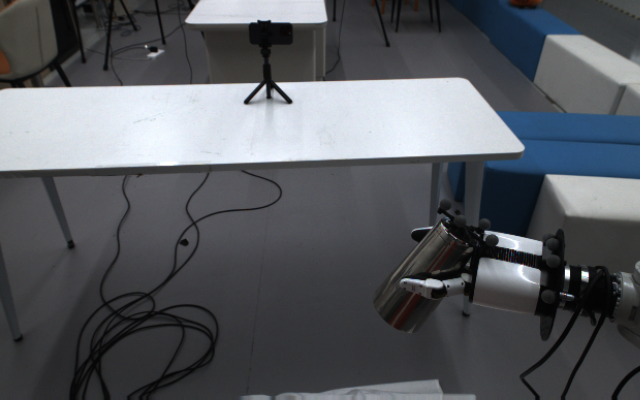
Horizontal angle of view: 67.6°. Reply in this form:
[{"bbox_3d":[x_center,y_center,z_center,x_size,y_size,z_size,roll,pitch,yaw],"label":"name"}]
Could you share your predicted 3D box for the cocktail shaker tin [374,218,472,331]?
[{"bbox_3d":[0.163,0.106,0.736,0.093,0.170,0.093,25,29,-15],"label":"cocktail shaker tin"}]
